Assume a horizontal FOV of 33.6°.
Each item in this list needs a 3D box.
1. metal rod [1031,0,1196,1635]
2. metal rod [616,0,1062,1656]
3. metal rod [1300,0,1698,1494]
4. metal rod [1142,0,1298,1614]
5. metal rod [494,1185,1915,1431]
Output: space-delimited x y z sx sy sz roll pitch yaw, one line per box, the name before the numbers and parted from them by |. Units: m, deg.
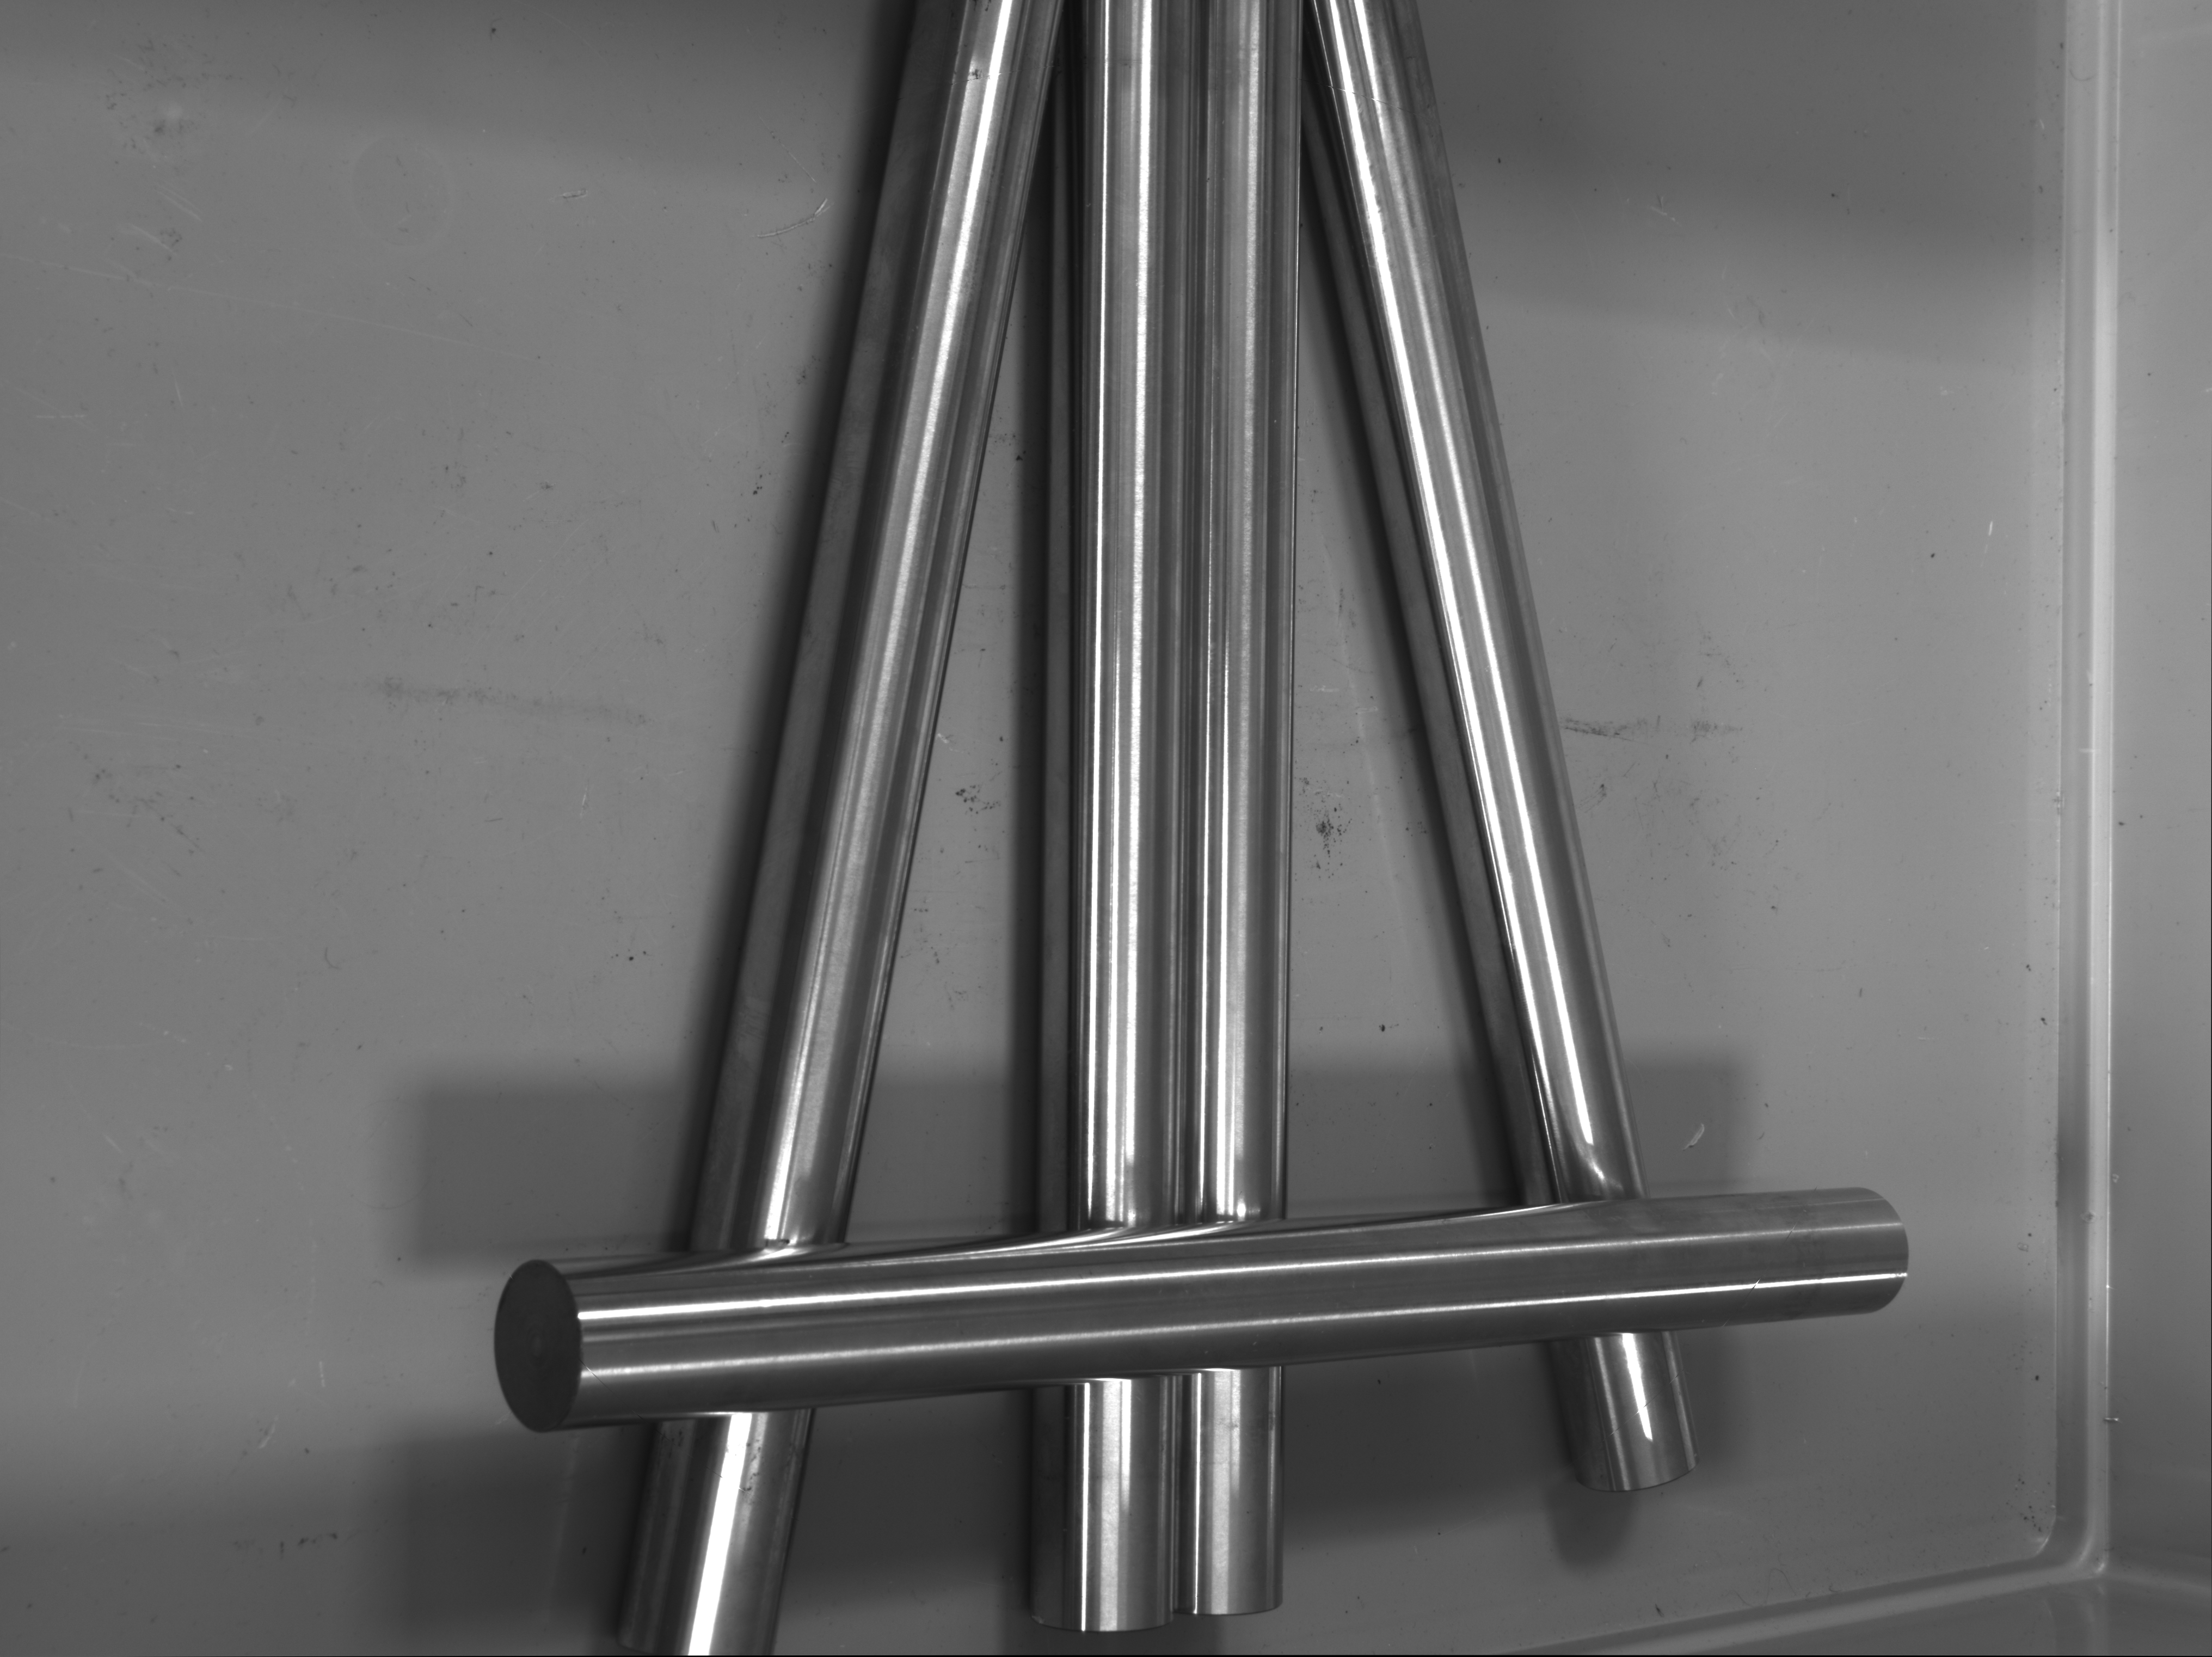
metal rod | 0.002 -0.013 0.636 0.025 0.025 0.300 1 89 -40
metal rod | -0.041 -0.015 0.601 0.025 0.025 0.300 16 80 -39
metal rod | 0.072 -0.019 0.695 0.025 0.025 0.300 -20 103 -38
metal rod | 0.020 -0.013 0.652 0.025 0.025 0.300 1 89 -40
metal rod | 0.034 0.079 0.629 0.301 0.025 0.025 2 89 -39
